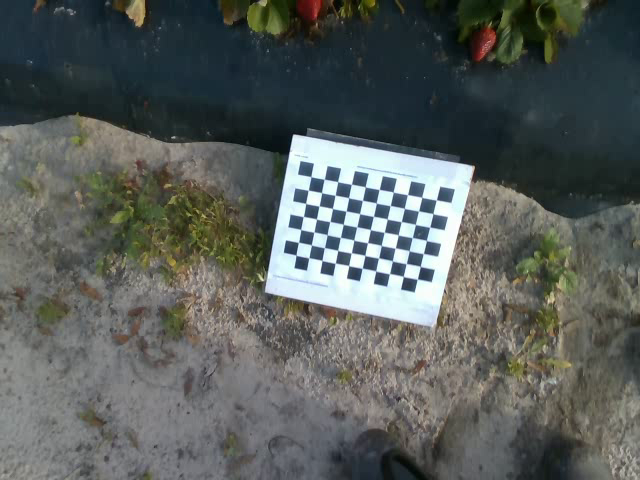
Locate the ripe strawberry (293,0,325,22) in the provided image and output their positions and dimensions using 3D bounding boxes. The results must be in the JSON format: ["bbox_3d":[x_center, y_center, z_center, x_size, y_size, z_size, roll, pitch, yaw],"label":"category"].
[{"bbox_3d":[-0.019,-0.236,0.888,0.031,0.030,0.025,-27,-22,9],"label":"ripe strawberry"}]

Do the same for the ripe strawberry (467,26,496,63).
[{"bbox_3d":[0.150,-0.195,0.867,0.029,0.036,0.021,12,-3,14],"label":"ripe strawberry"}]
